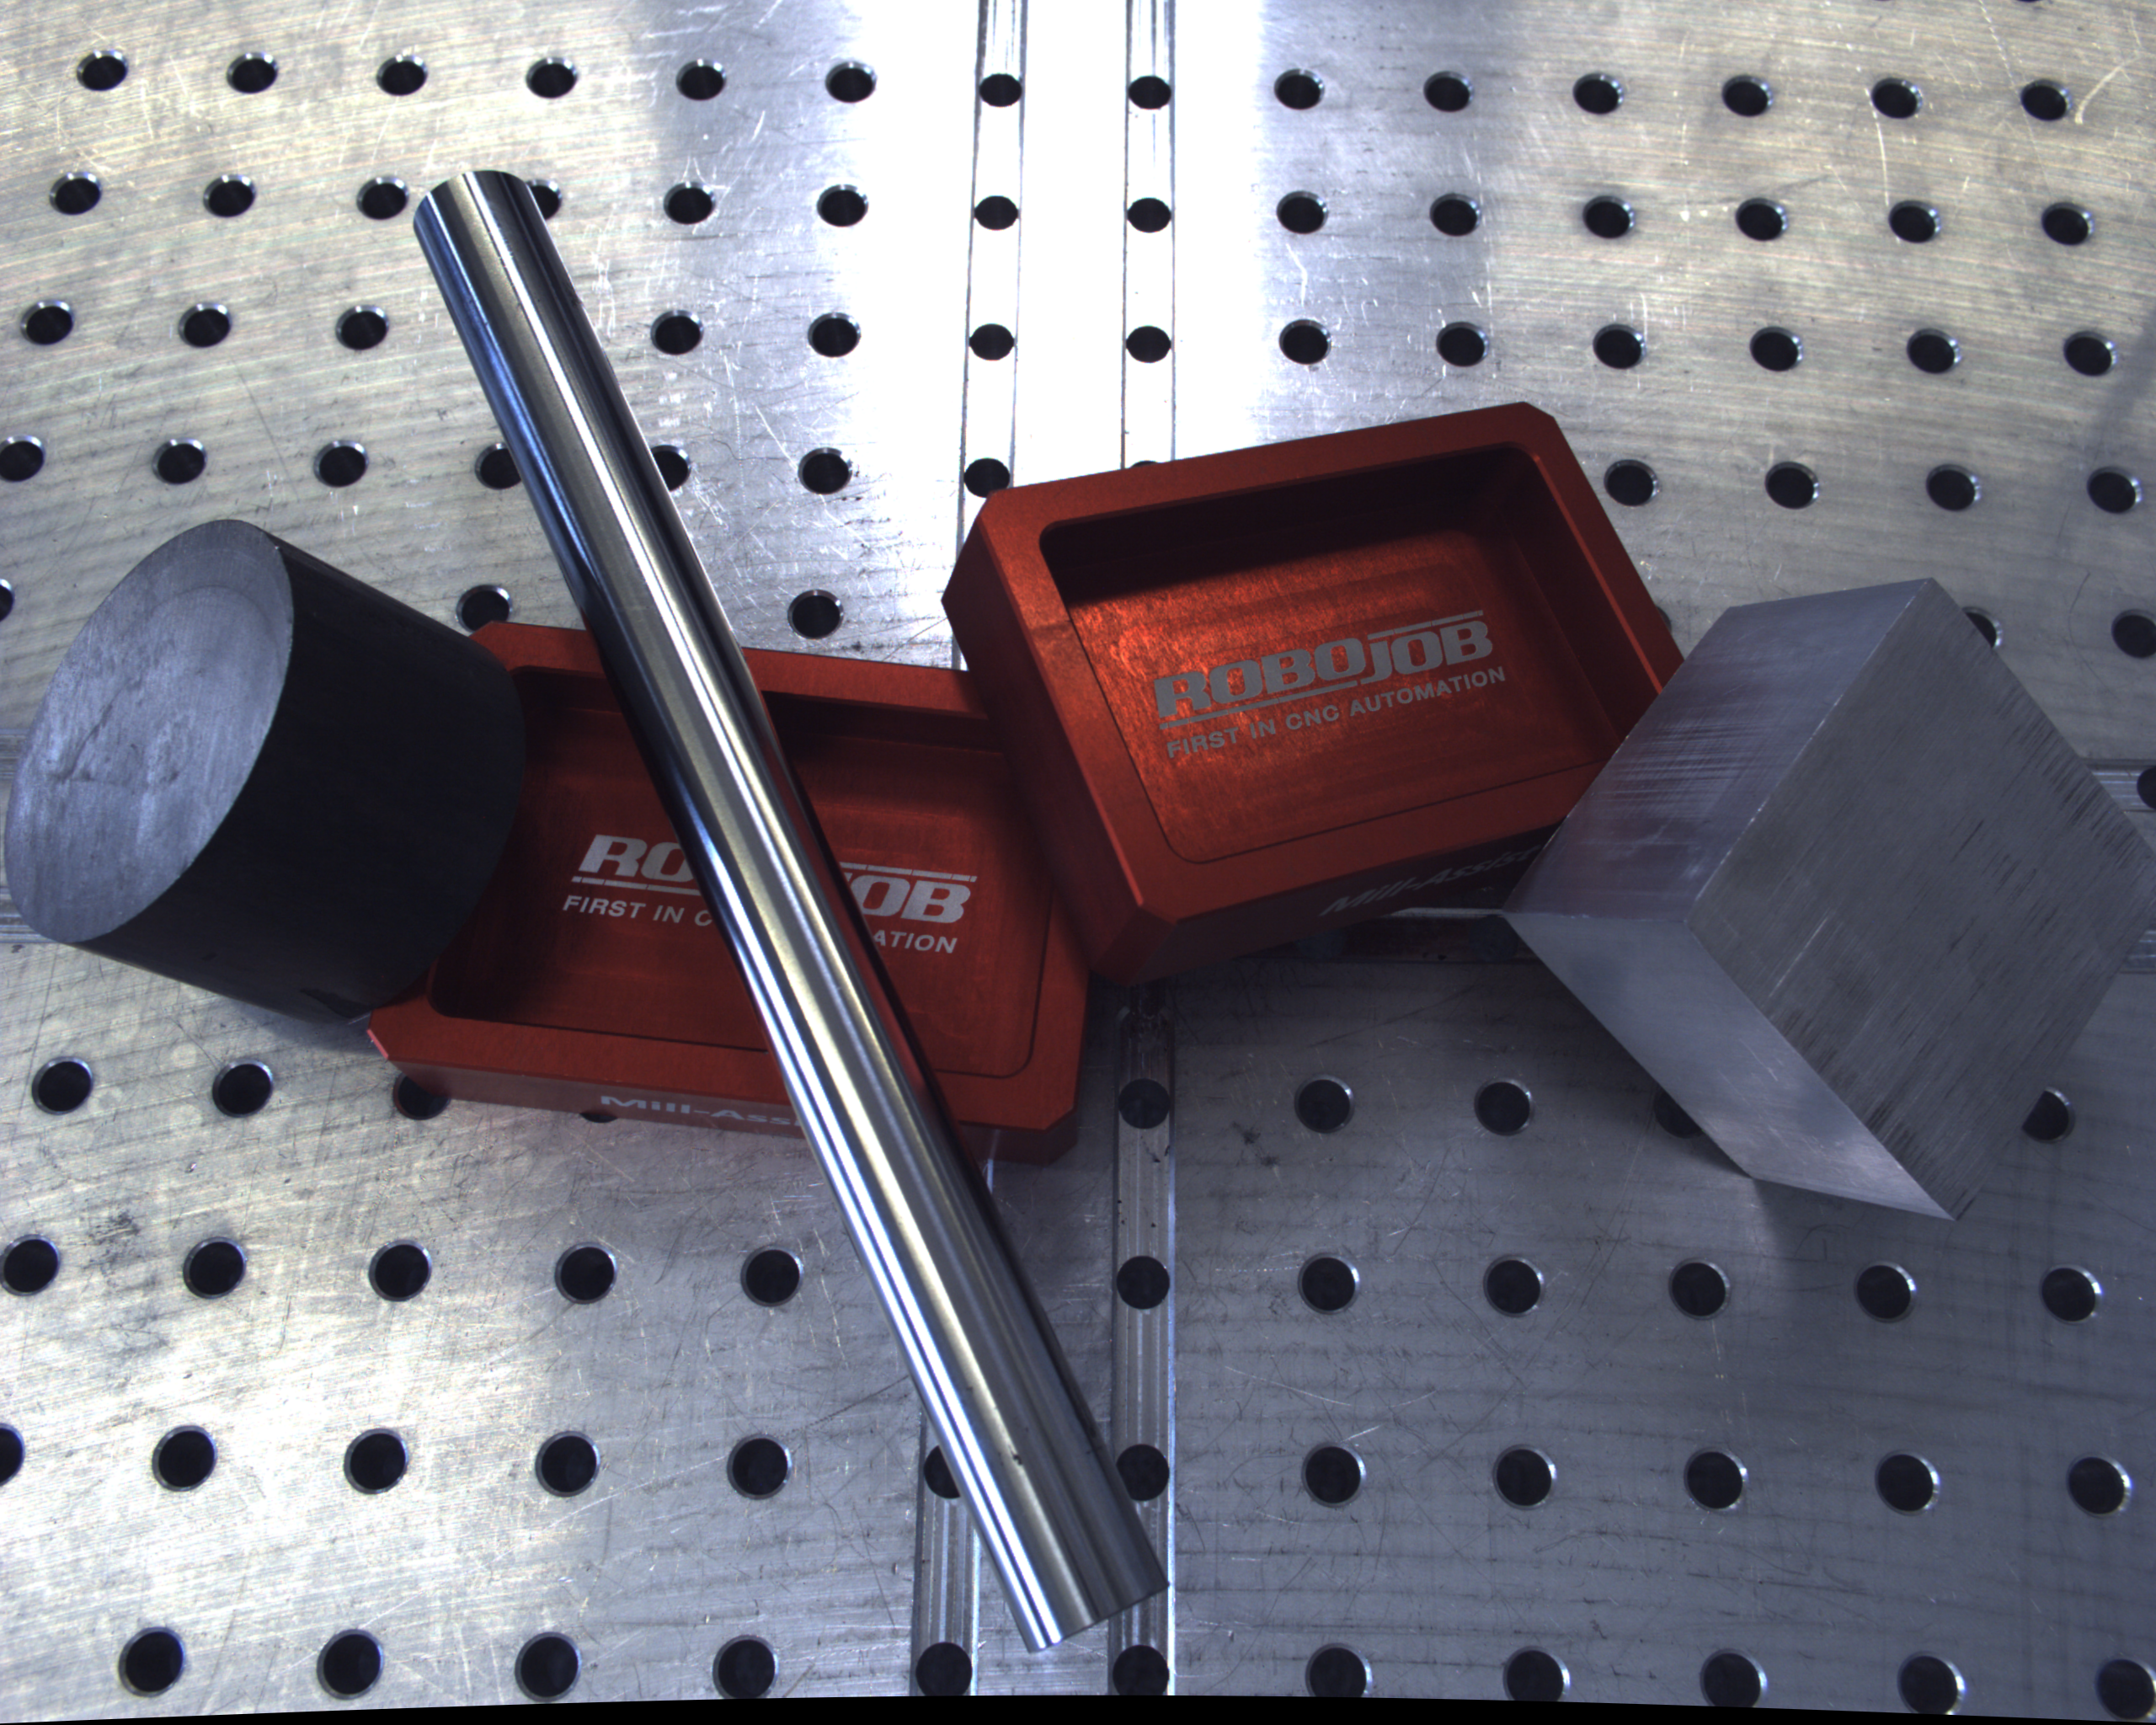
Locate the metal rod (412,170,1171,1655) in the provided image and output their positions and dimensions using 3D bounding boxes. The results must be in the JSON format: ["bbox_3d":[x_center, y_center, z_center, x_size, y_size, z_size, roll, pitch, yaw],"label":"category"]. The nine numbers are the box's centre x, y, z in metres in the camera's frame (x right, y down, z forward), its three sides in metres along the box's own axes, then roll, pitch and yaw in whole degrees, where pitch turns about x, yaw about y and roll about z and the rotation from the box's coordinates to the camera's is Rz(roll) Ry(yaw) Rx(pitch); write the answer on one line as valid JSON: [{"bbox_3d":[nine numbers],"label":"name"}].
[{"bbox_3d":[-0.060,-0.006,0.381,0.025,0.025,0.299,-24,72,-8],"label":"metal rod"}]

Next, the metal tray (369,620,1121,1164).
[{"bbox_3d":[-0.060,0.006,0.406,0.131,0.030,0.090,6,70,2],"label":"metal tray"}]

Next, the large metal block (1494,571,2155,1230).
[{"bbox_3d":[0.138,0.006,0.378,0.080,0.050,0.080,45,74,-18],"label":"large metal block"}]

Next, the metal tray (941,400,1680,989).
[{"bbox_3d":[0.050,-0.036,0.402,0.131,0.030,0.090,-14,70,-23],"label":"metal tray"}]

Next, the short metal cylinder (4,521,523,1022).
[{"bbox_3d":[-0.149,-0.016,0.384,0.080,0.050,0.080,-16,61,31],"label":"short metal cylinder"}]
